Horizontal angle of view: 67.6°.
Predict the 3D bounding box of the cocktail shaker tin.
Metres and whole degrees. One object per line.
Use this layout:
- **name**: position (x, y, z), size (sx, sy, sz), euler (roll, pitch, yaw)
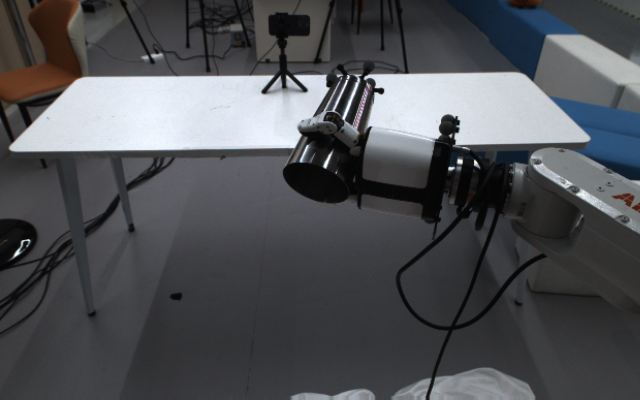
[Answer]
- **cocktail shaker tin**: position (0.020, -0.092, 0.669), size (0.093, 0.093, 0.170), euler (13, 60, 16)
